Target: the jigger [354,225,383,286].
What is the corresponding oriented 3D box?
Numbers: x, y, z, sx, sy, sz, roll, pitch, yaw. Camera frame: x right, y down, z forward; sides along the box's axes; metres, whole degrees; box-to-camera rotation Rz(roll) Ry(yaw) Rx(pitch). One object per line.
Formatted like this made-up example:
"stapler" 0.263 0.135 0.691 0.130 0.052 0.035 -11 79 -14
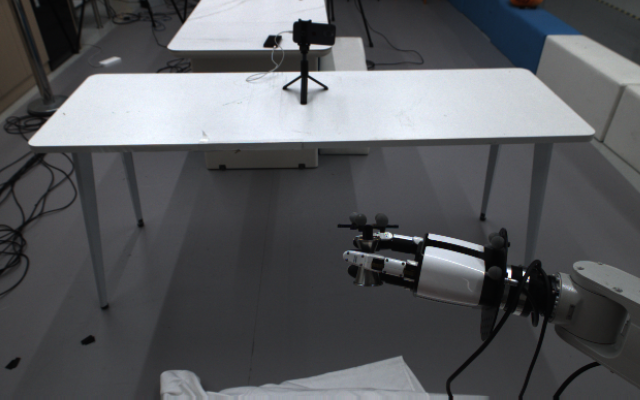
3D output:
"jigger" 0.070 0.088 0.715 0.043 0.071 0.043 -1 2 0
